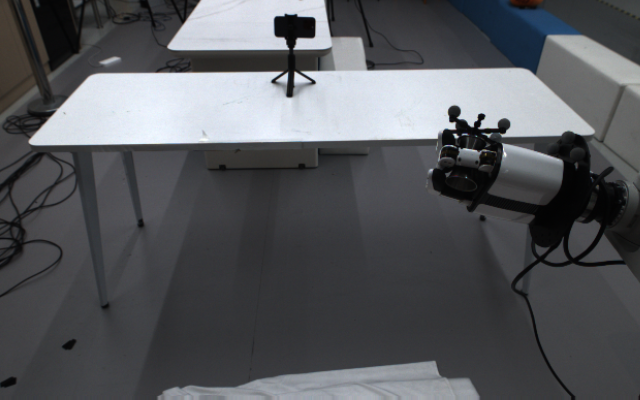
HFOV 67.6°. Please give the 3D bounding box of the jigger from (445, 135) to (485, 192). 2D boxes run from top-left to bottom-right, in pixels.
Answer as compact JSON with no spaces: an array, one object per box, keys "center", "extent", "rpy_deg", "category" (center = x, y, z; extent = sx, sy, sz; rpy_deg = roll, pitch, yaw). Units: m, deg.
[{"center":[0.205,-0.053,0.674],"extent":[0.043,0.043,0.071],"rpy_deg":[13,72,15],"category":"jigger"}]
